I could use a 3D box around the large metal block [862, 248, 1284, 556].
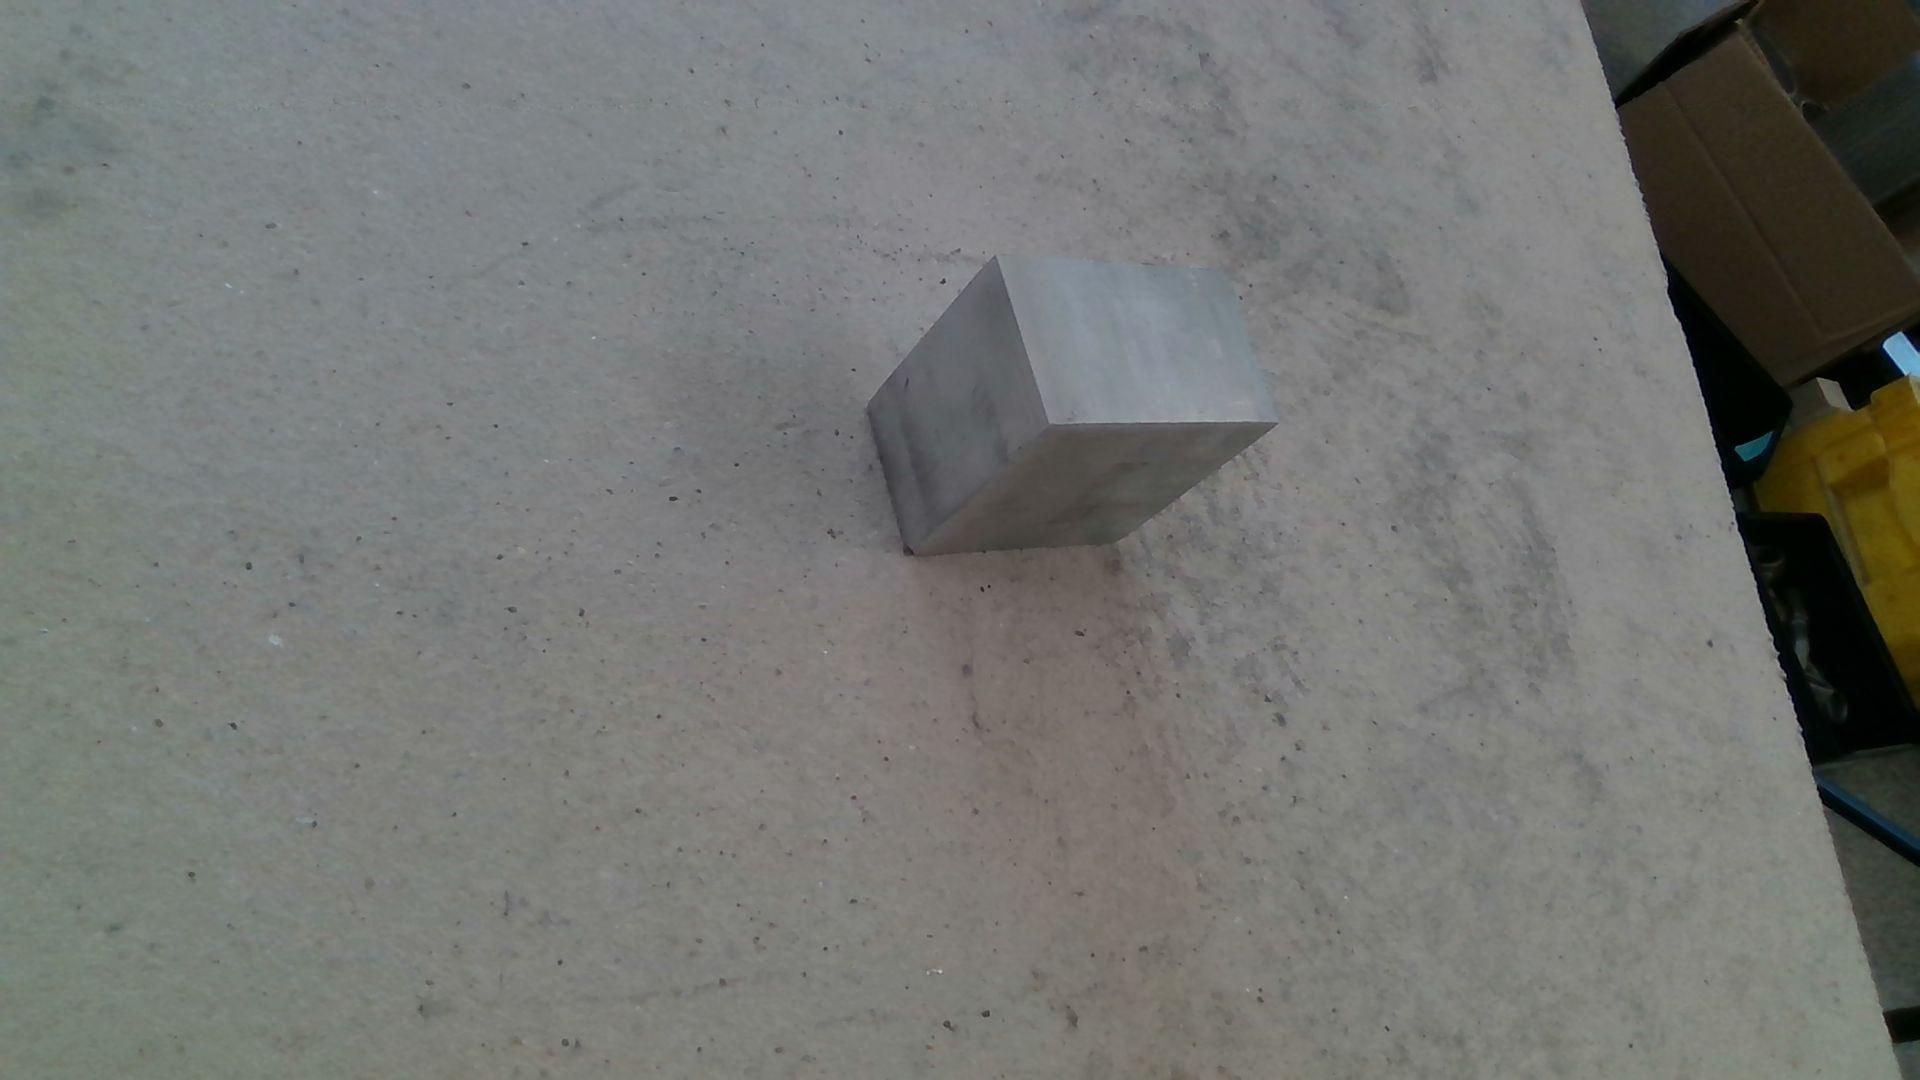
[{"bbox_3d":[0.030,-0.037,0.395,0.080,0.080,0.050,-3,67,-33],"label":"large metal block"}]
